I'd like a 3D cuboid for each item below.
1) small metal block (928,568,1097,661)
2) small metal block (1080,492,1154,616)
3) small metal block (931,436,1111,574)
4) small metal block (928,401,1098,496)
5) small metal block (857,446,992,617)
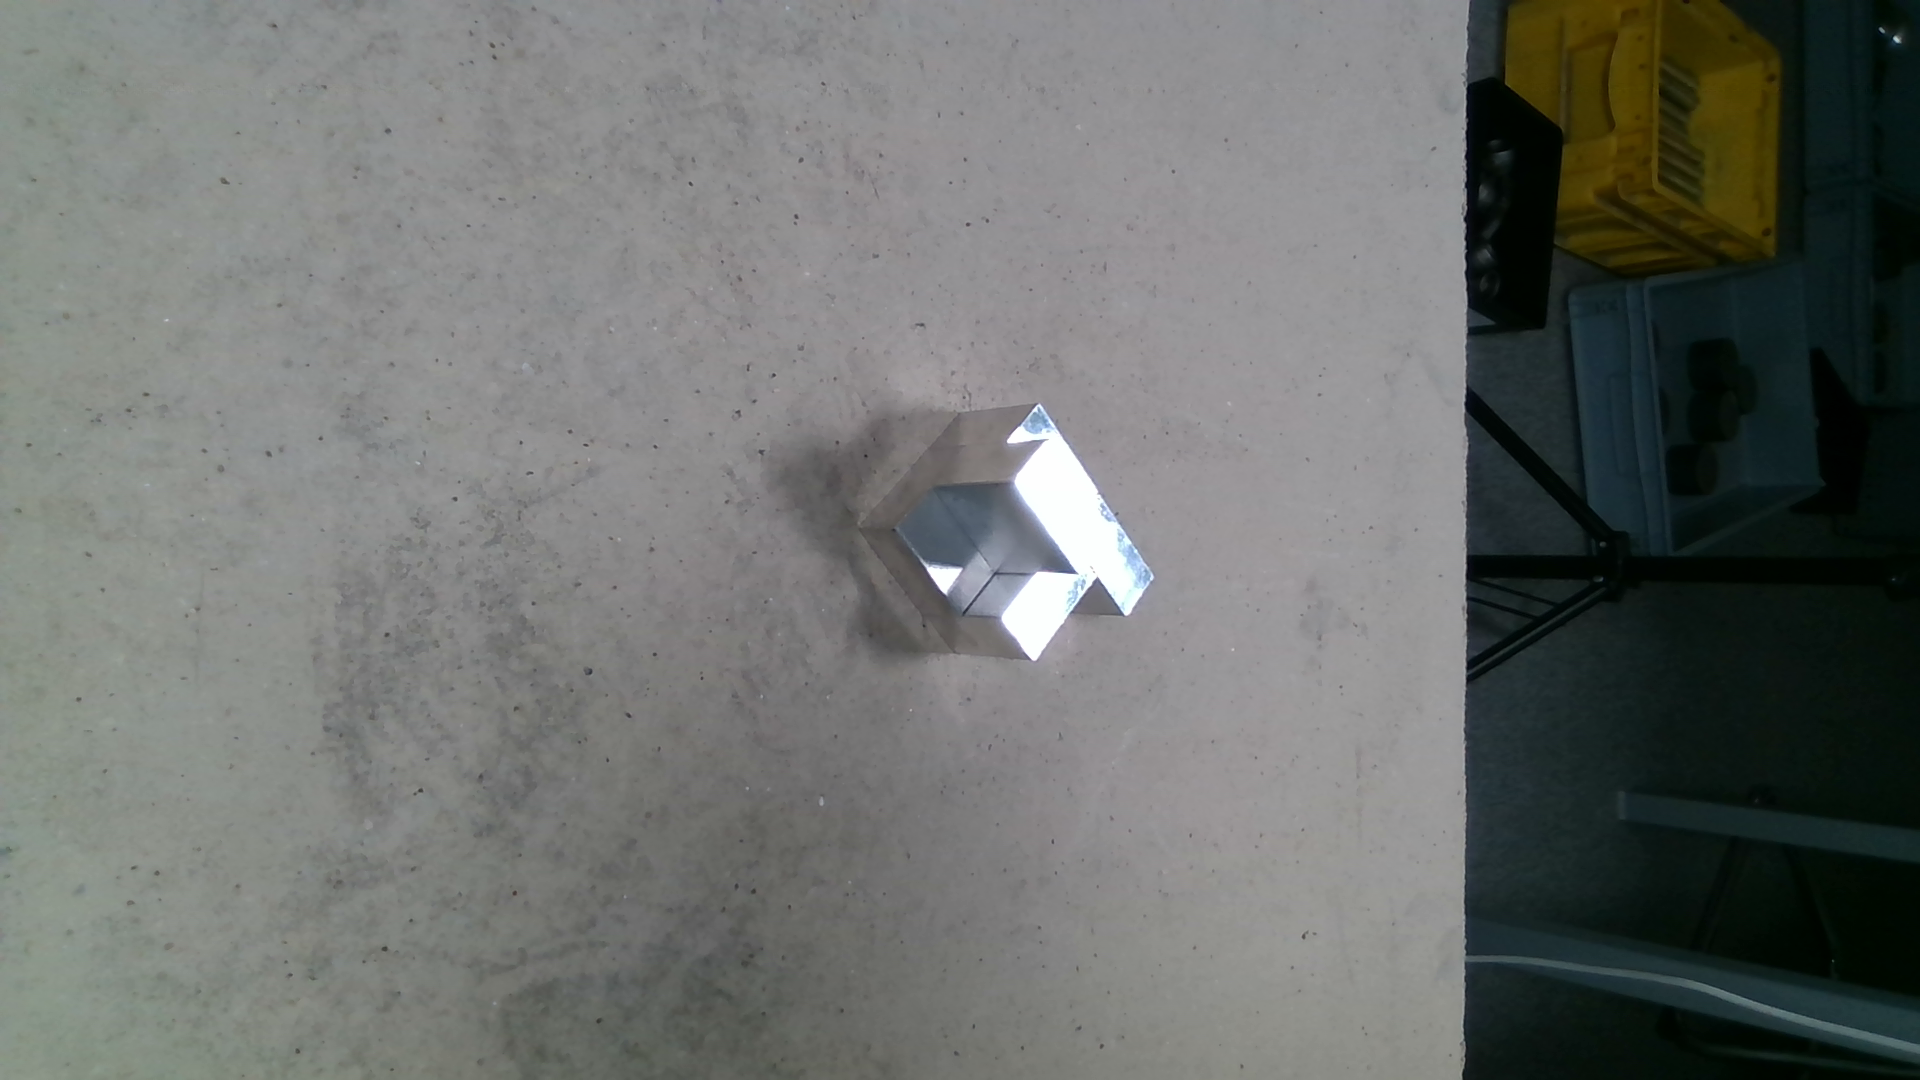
[{"bbox_3d":[0.021,0.023,0.585,0.050,0.050,0.025,-51,120,-28],"label":"small metal block"},{"bbox_3d":[0.049,0.006,0.608,0.025,0.050,0.050,-52,120,-28],"label":"small metal block"},{"bbox_3d":[0.024,-0.013,0.555,0.025,0.050,0.050,-52,120,-28],"label":"small metal block"},{"bbox_3d":[0.022,-0.030,0.585,0.025,0.050,0.050,-52,120,-28],"label":"small metal block"},{"bbox_3d":[-0.007,-0.004,0.577,0.050,0.025,0.050,-50,120,-28],"label":"small metal block"}]
